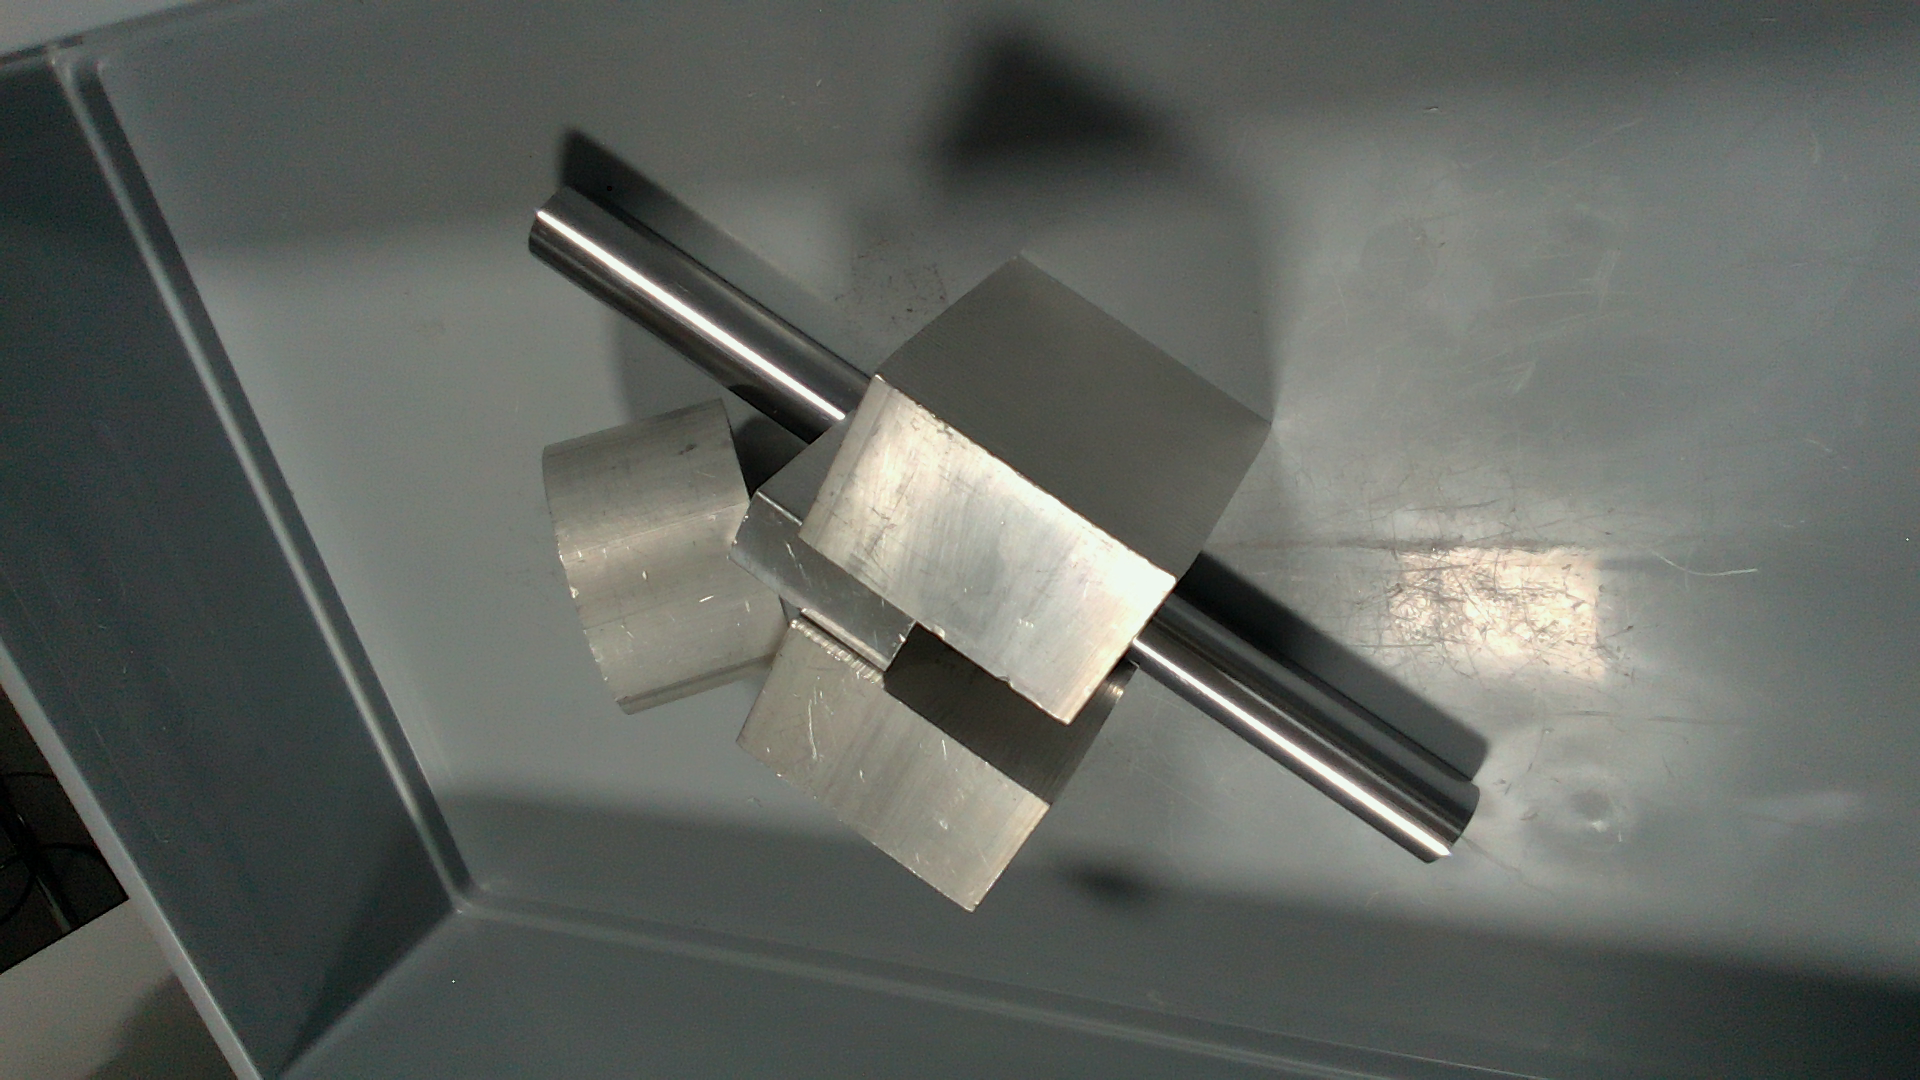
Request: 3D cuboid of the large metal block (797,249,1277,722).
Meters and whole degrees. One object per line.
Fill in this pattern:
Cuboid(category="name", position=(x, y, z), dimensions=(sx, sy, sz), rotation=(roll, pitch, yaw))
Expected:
Cuboid(category="large metal block", position=(0.021, -0.017, 0.336), dimensions=(0.080, 0.080, 0.050), rotation=(35, 129, 5))

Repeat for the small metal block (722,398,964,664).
Cuboid(category="small metal block", position=(-0.024, -0.004, 0.356), dimensions=(0.050, 0.050, 0.025), rotation=(35, 129, 5))

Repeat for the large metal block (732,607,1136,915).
Cuboid(category="large metal block", position=(-0.002, 0.041, 0.383), dimensions=(0.080, 0.080, 0.050), rotation=(34, 129, 6))

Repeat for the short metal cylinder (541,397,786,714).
Cuboid(category="short metal cylinder", position=(-0.081, 0.004, 0.395), dimensions=(0.050, 0.080, 0.080), rotation=(-17, 115, -7))

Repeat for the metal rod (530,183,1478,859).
Cuboid(category="metal rod", position=(0.008, -0.009, 0.383), dimensions=(0.300, 0.025, 0.025), rotation=(34, 129, 6))
